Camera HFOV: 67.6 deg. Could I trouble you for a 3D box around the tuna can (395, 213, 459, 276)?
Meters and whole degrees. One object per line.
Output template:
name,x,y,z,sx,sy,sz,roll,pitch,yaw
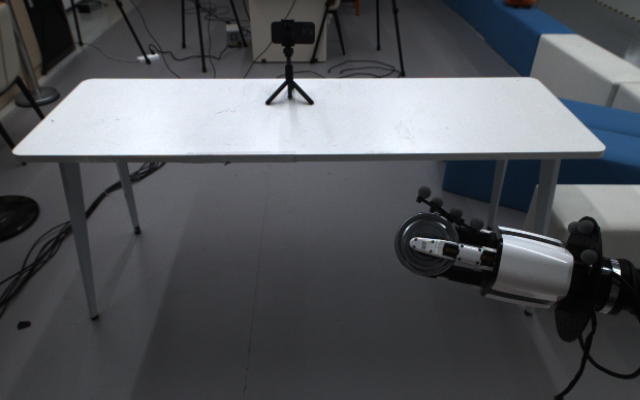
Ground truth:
tuna can,0.146,0.057,0.650,0.085,0.085,0.034,13,-4,15
